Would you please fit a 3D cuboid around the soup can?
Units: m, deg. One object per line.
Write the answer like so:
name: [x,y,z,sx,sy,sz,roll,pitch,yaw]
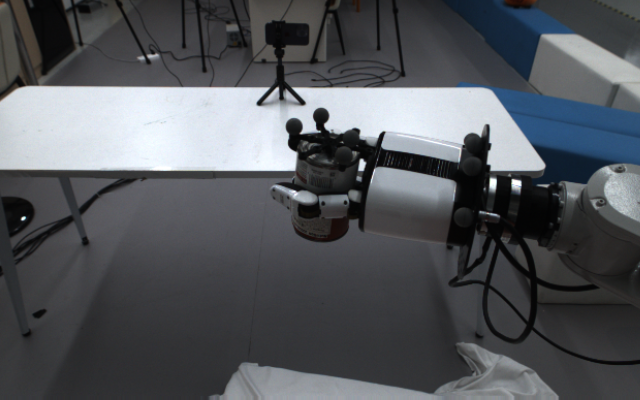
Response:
soup can: [0.006,-0.014,0.530,0.067,0.101,0.067,5,37,-4]
